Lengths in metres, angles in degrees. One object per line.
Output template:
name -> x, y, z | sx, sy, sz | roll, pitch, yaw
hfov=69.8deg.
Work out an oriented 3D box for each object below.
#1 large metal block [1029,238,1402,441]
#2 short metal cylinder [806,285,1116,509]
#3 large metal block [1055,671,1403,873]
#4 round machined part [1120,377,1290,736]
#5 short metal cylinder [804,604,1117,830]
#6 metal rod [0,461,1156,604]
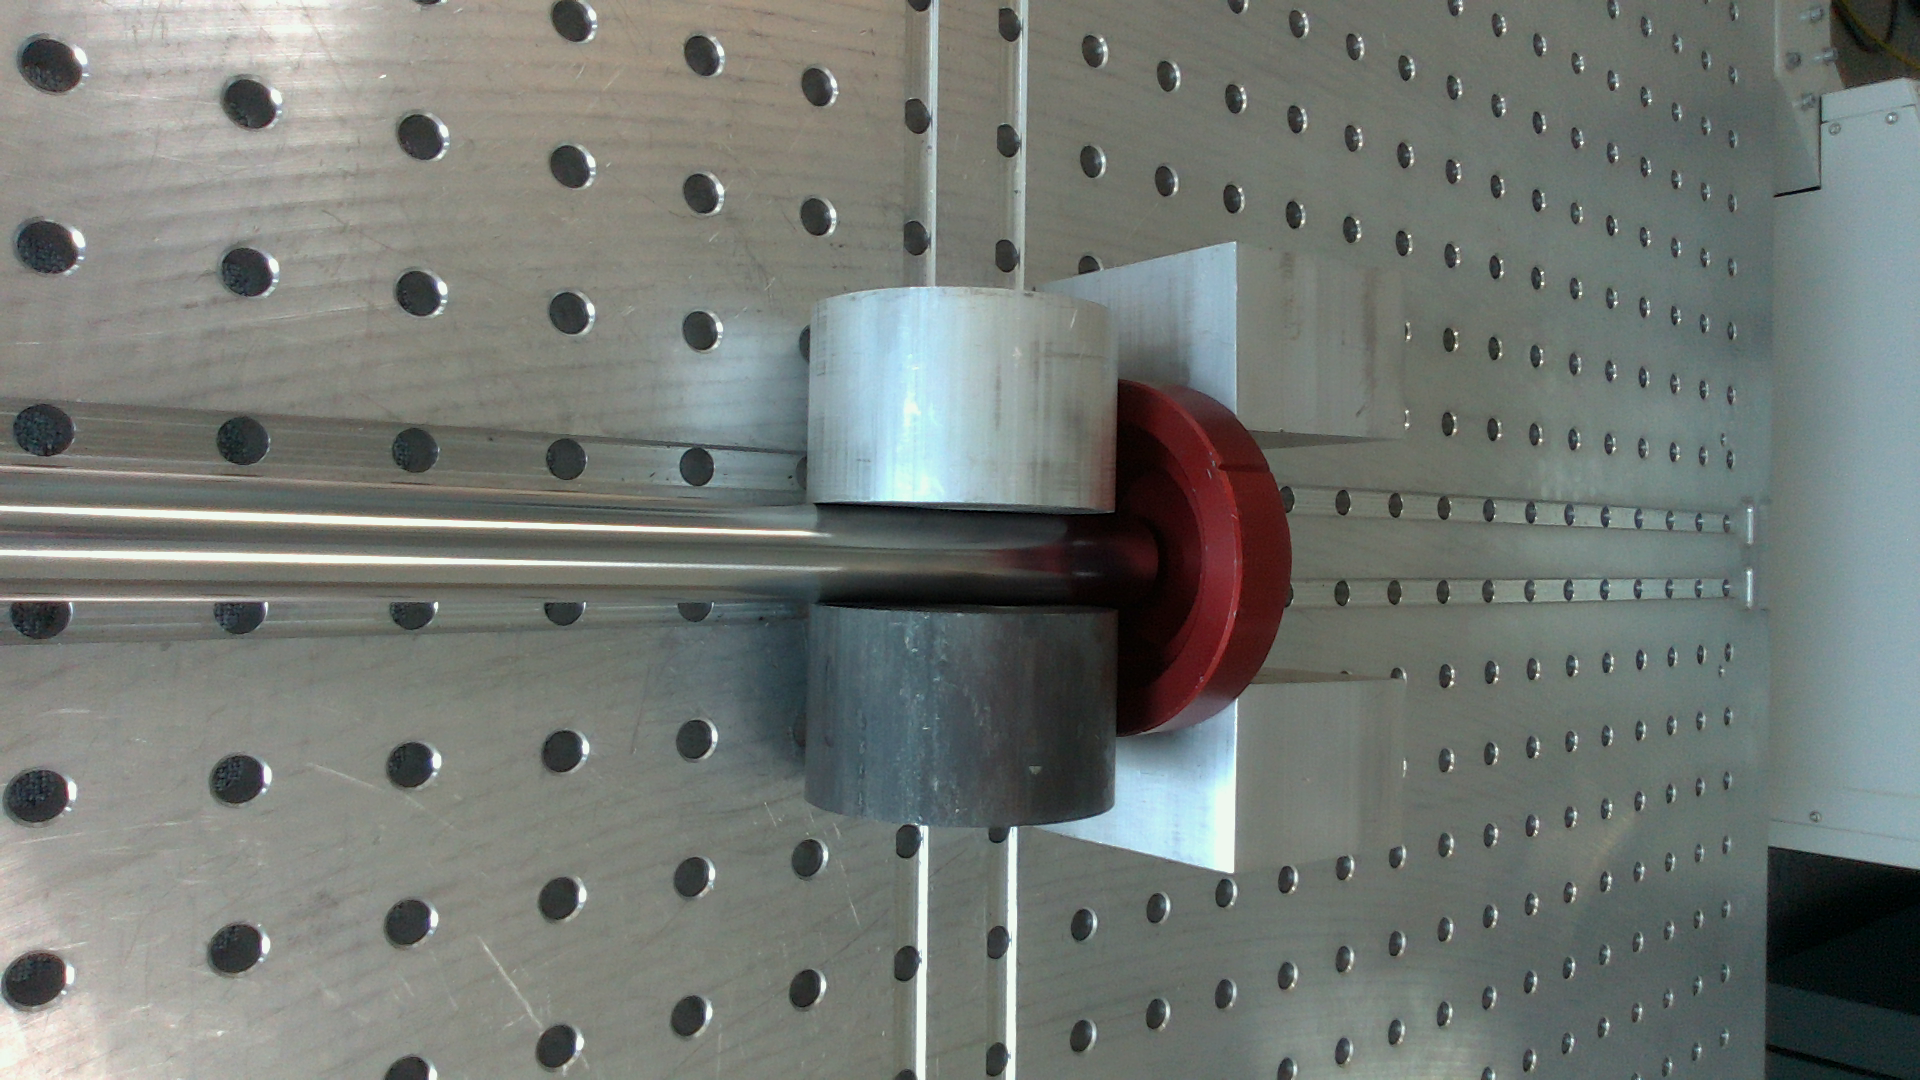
large metal block -> 0.078, -0.055, 0.422 | 0.080, 0.080, 0.050 | 0, 90, -40
short metal cylinder -> 0.000, -0.034, 0.357 | 0.080, 0.080, 0.050 | 1, 90, -40
large metal block -> 0.077, 0.065, 0.422 | 0.080, 0.080, 0.050 | 4, 88, -40
round machined part -> 0.054, 0.005, 0.389 | 0.042, 0.098, 0.098 | 1, 89, -40
short metal cylinder -> 0.000, 0.042, 0.355 | 0.080, 0.080, 0.050 | 2, 89, -40
metal rod -> -0.073, 0.002, 0.316 | 0.301, 0.025, 0.025 | 2, 89, -36
